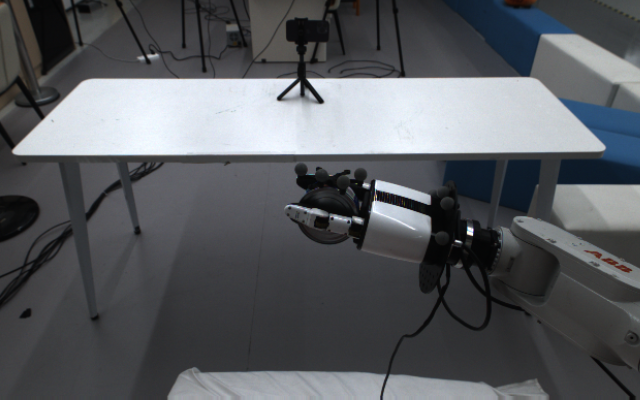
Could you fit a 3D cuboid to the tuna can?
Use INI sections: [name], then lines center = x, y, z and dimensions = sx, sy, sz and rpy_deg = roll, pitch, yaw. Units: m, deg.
[tuna can]
center = 0.013, 0.016, 0.666
dimensions = 0.085, 0.085, 0.034
rpy_deg = 6, 22, 6
